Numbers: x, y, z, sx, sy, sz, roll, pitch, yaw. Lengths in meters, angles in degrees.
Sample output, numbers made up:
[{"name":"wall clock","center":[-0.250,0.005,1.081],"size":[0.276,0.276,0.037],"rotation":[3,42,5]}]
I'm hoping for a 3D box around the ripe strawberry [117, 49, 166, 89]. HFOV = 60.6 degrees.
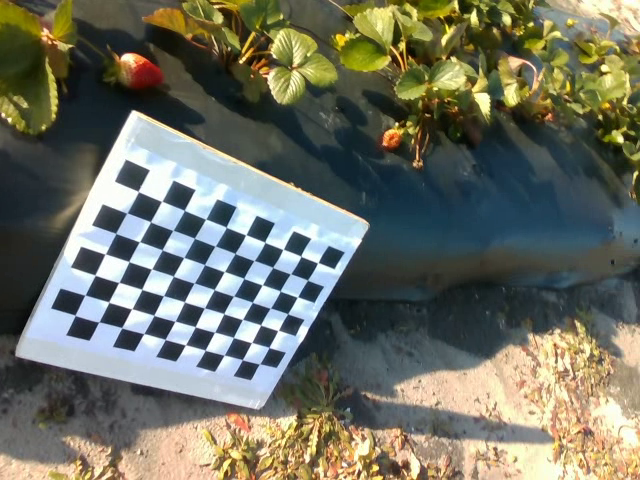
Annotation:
[{"name":"ripe strawberry","center":[-0.200,-0.191,0.612],"size":[0.063,0.045,0.043],"rotation":[4,21,-27]}]
